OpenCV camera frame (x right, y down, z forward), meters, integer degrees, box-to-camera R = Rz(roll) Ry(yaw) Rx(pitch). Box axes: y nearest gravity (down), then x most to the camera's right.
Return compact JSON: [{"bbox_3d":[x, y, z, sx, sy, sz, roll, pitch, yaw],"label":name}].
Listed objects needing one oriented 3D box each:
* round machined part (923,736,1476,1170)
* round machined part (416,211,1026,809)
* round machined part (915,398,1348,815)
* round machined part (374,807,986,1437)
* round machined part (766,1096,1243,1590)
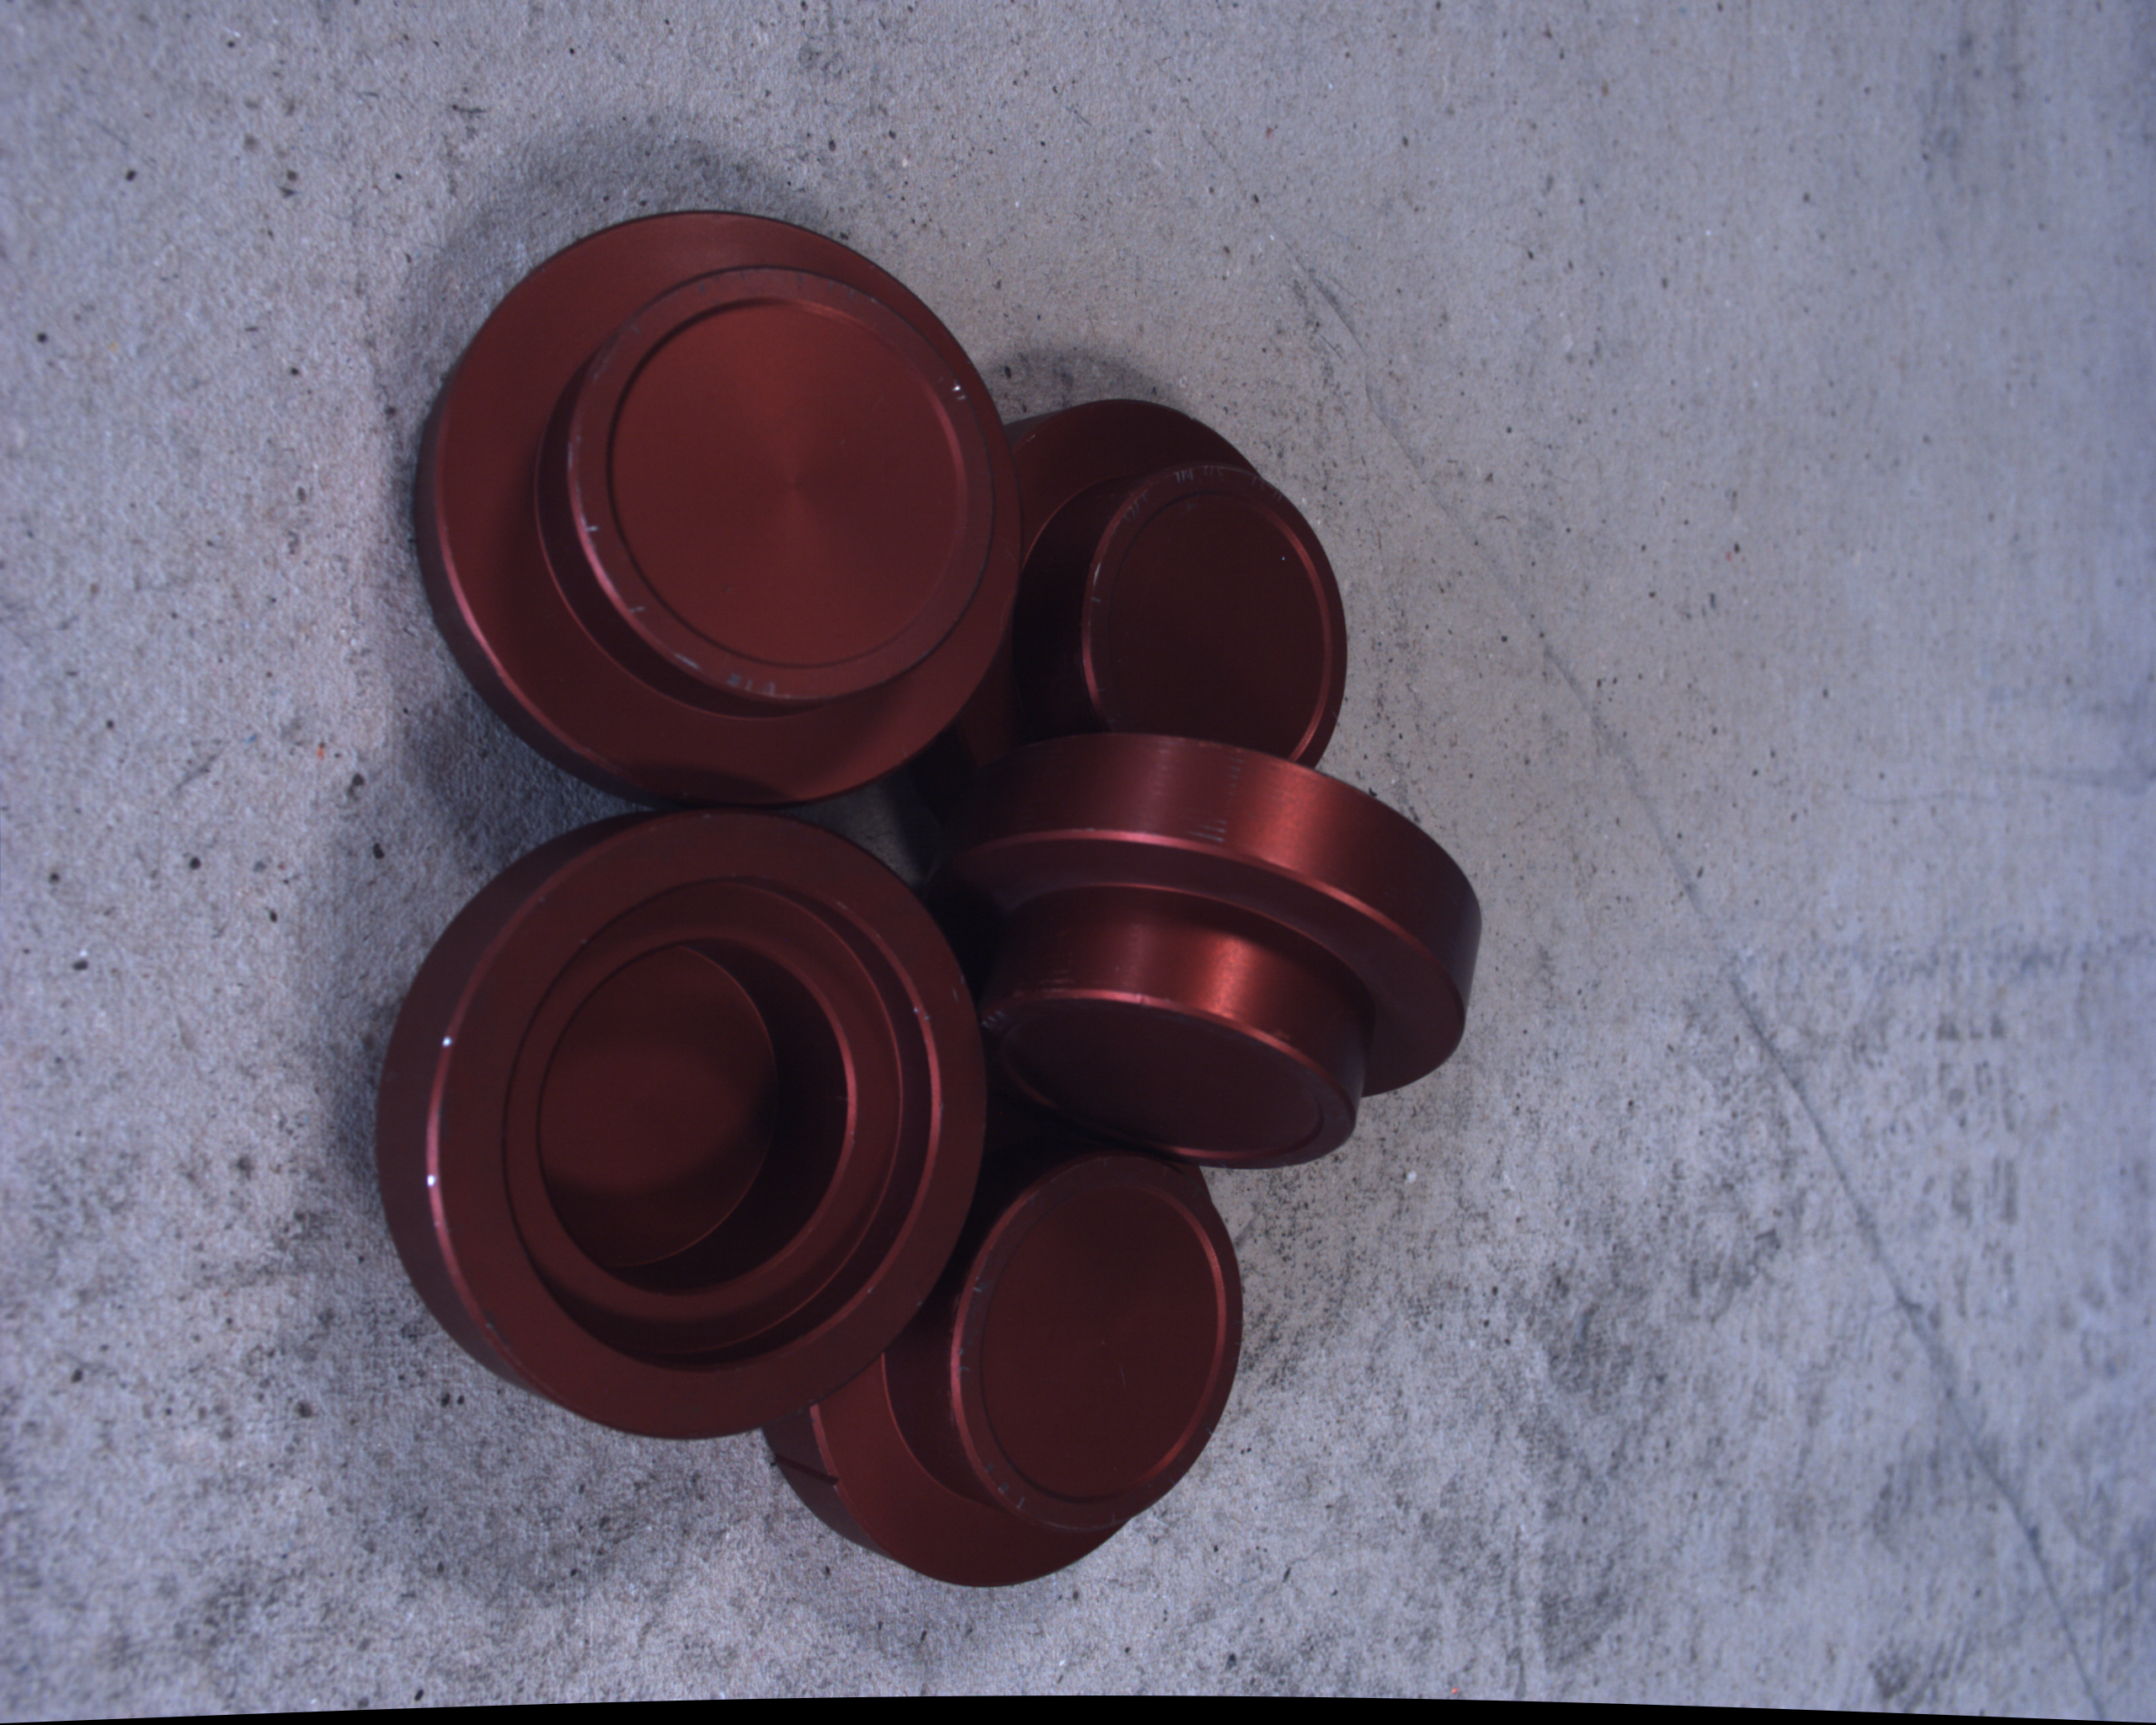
[{"bbox_3d":[0.019,0.022,0.371,0.098,0.098,0.042,36,54,-34],"label":"round machined part"},{"bbox_3d":[-0.053,-0.057,0.337,0.099,0.042,0.097,1,88,-27],"label":"round machined part"},{"bbox_3d":[0.014,-0.042,0.406,0.099,0.042,0.097,1,88,-41],"label":"round machined part"},{"bbox_3d":[-0.066,0.040,0.340,0.099,0.042,0.097,-2,93,-40],"label":"round machined part"},{"bbox_3d":[-0.008,0.086,0.388,0.099,0.042,0.097,2,88,-41],"label":"round machined part"}]
